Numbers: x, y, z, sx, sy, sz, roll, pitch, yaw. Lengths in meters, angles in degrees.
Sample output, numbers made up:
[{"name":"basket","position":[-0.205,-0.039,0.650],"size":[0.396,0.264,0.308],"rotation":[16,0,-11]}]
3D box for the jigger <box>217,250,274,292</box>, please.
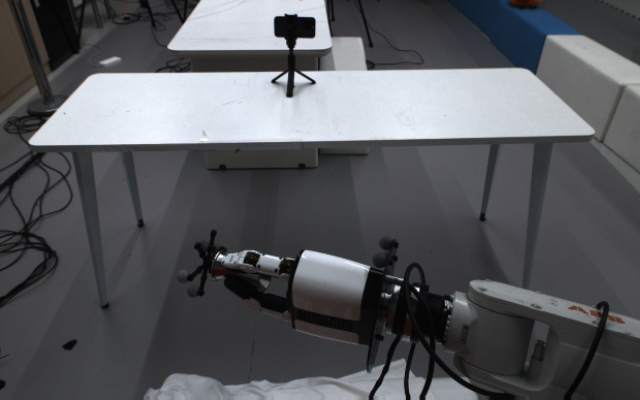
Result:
[{"name":"jigger","position":[-0.095,0.087,0.625],"size":[0.071,0.043,0.043],"rotation":[10,35,16]}]
